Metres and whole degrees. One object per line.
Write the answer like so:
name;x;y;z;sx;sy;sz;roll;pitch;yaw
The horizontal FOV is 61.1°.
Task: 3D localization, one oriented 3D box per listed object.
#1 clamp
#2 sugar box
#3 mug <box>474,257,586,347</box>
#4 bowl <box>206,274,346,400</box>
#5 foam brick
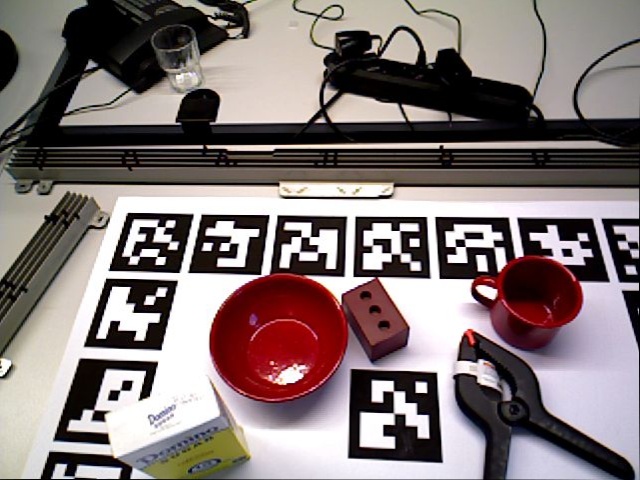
clamp;0.198;0.183;0.576;0.164;0.037;0.201;-20;59;-7
sugar box;-0.132;0.190;0.518;0.092;0.180;0.045;-19;59;-11
mug;0.235;0.067;0.626;0.117;0.083;0.091;25;61;14
bowl;-0.051;0.116;0.633;0.161;0.056;0.159;-2;57;2
foam brick;0.066;0.099;0.645;0.052;0.052;0.077;-23;59;-10
